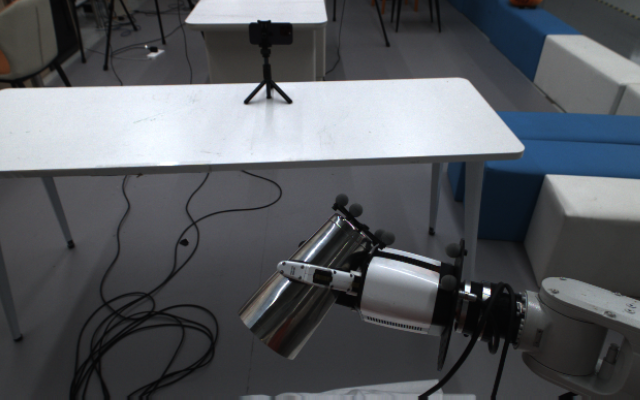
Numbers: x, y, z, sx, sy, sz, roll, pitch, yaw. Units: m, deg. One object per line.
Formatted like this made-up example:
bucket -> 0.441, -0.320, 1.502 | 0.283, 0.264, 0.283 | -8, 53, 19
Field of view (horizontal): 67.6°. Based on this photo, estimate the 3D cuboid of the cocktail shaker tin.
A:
cocktail shaker tin -> -0.010, 0.099, 0.606 | 0.170, 0.093, 0.093 | -48, 49, -4
